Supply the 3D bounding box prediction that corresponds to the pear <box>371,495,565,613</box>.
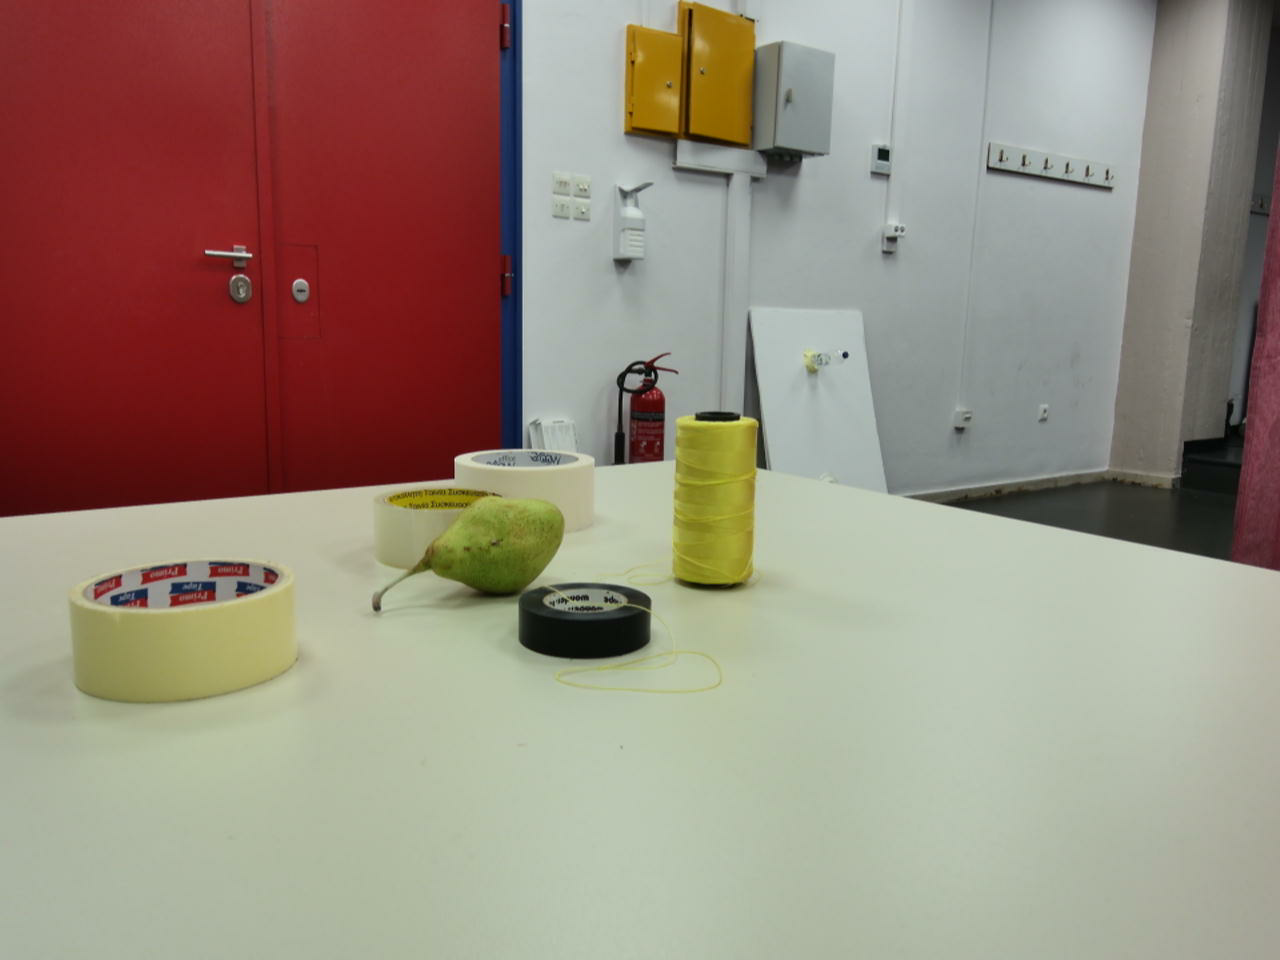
[{"bbox_3d":[-0.097,0.038,0.566,0.111,0.056,0.056,-3,8,-21],"label":"pear"}]
